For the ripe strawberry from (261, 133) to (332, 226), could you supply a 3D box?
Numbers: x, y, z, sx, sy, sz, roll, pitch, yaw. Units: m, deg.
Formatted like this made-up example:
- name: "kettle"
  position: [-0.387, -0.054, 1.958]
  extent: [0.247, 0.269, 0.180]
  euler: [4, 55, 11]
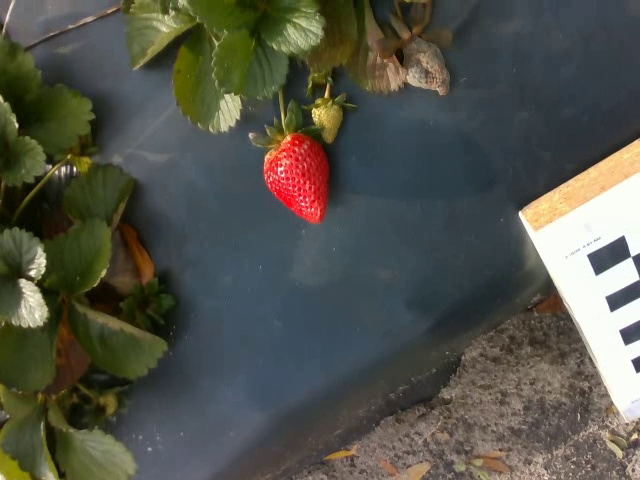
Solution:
- name: "ripe strawberry"
  position: [-0.011, -0.033, 0.333]
  extent: [0.045, 0.058, 0.050]
  euler: [-29, -8, 12]
